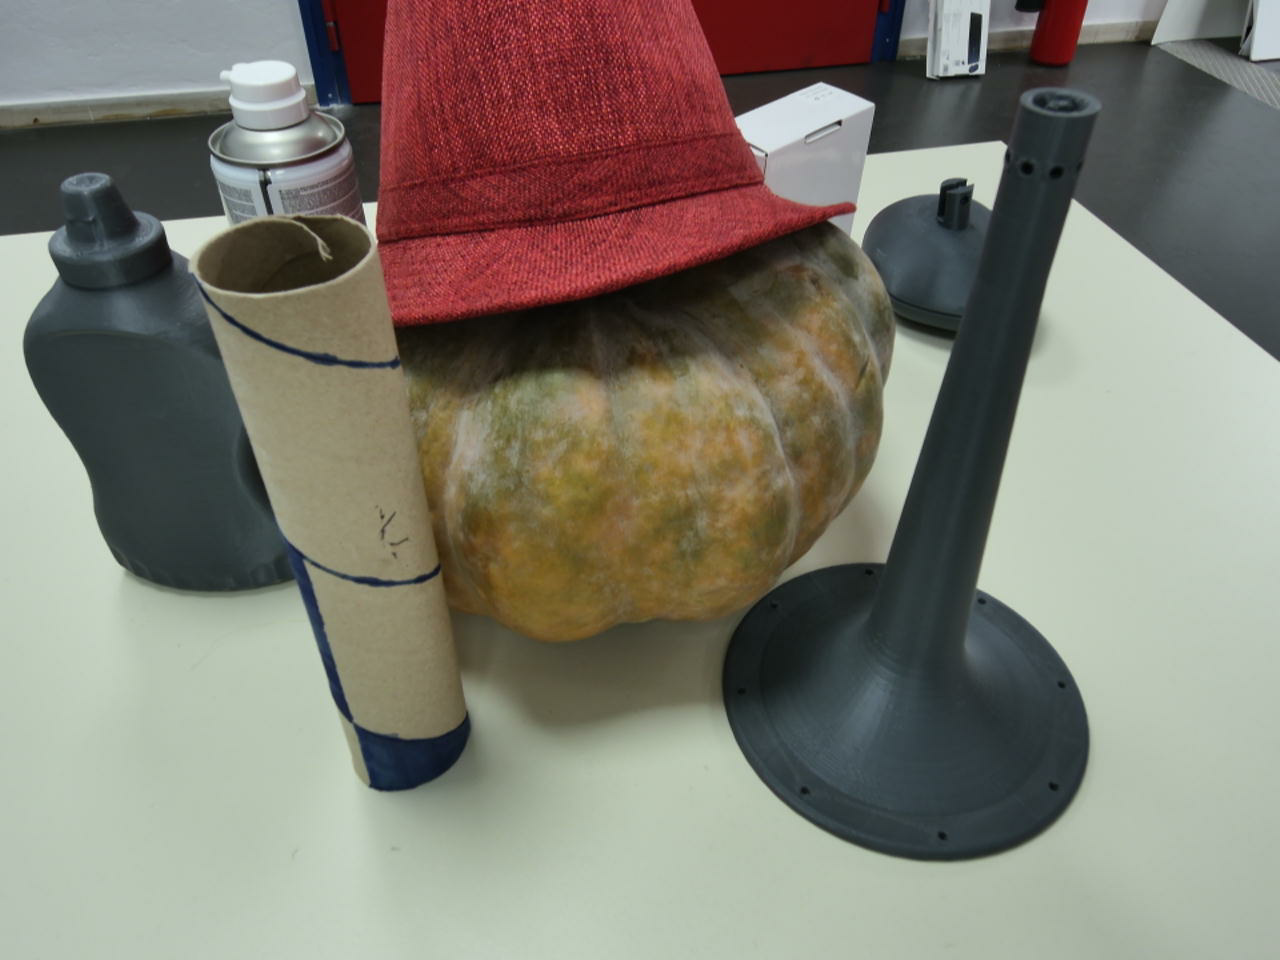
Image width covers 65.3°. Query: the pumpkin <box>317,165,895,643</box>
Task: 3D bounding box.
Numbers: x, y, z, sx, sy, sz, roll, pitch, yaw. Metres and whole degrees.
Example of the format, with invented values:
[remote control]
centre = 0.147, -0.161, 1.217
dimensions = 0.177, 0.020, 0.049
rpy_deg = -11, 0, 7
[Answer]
[pumpkin]
centre = -0.019, -0.040, 0.453
dimensions = 0.252, 0.169, 0.251
rpy_deg = 0, 39, 0
